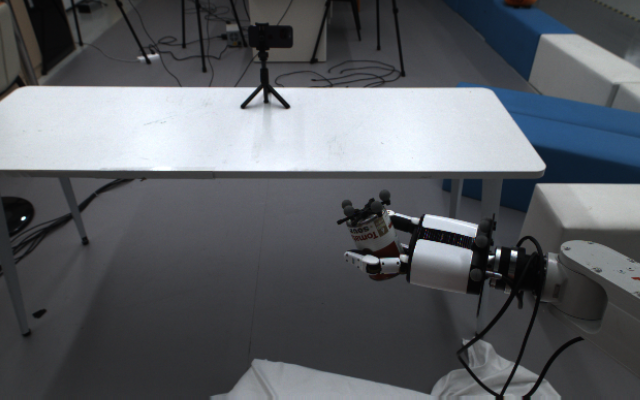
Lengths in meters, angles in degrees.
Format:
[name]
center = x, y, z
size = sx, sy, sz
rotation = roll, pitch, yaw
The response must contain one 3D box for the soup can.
[soup can]
center = 0.092, 0.065, 0.760
size = 0.067, 0.101, 0.067
rotation = -23, 16, 7
